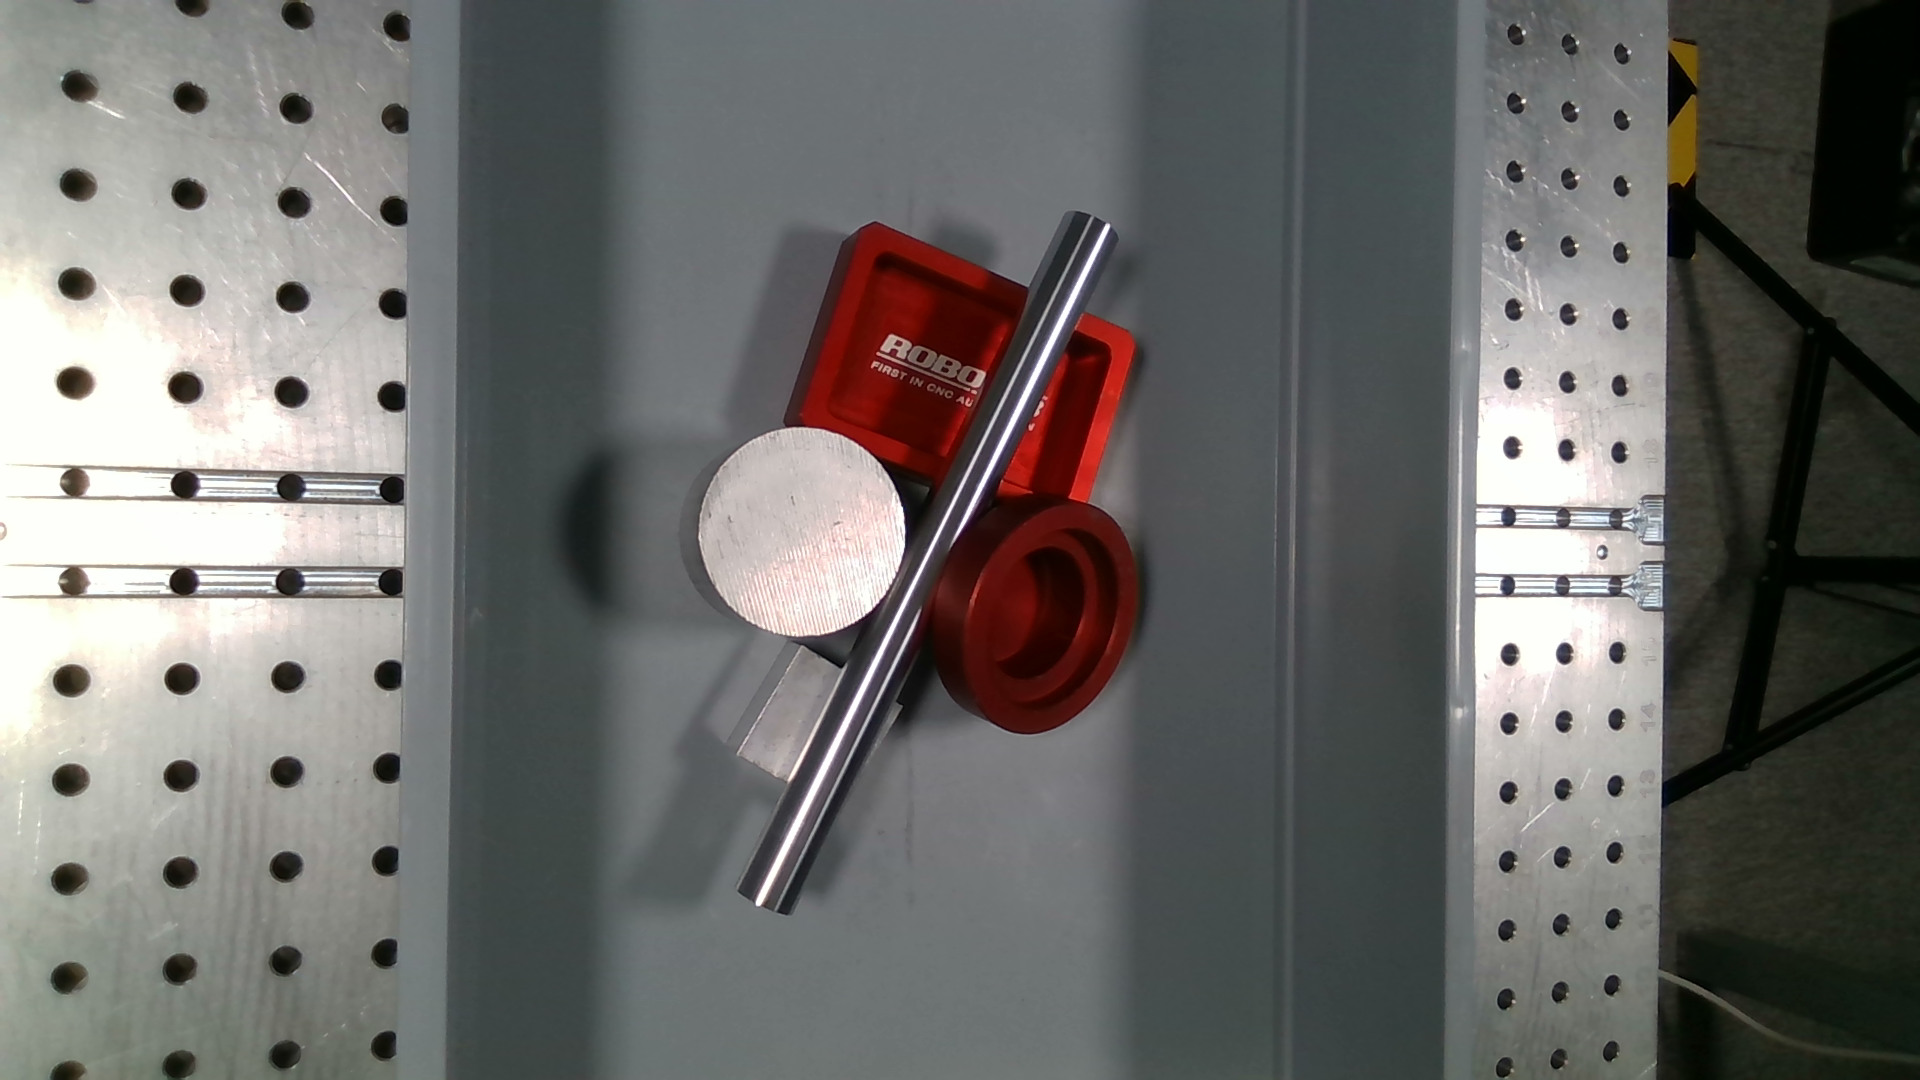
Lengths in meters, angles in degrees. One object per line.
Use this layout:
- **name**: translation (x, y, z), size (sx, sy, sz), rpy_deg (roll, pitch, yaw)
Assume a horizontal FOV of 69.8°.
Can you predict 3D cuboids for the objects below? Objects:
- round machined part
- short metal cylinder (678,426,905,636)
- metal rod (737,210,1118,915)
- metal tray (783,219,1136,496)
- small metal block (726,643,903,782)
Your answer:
- **round machined part**: translation (0.025, 0.028, 0.572), size (0.098, 0.042, 0.098), rpy_deg (-14, 112, -39)
- **short metal cylinder**: translation (-0.067, -0.003, 0.546), size (0.080, 0.050, 0.080), rpy_deg (0, 90, -20)
- **metal rod**: translation (-0.011, 0.005, 0.550), size (0.025, 0.025, 0.300), rpy_deg (28, 83, -18)
- **metal tray**: translation (0.001, -0.067, 0.581), size (0.130, 0.030, 0.090), rpy_deg (19, 84, -19)
- **small metal block**: translation (-0.060, 0.076, 0.563), size (0.050, 0.025, 0.050), rpy_deg (33, 79, -17)
